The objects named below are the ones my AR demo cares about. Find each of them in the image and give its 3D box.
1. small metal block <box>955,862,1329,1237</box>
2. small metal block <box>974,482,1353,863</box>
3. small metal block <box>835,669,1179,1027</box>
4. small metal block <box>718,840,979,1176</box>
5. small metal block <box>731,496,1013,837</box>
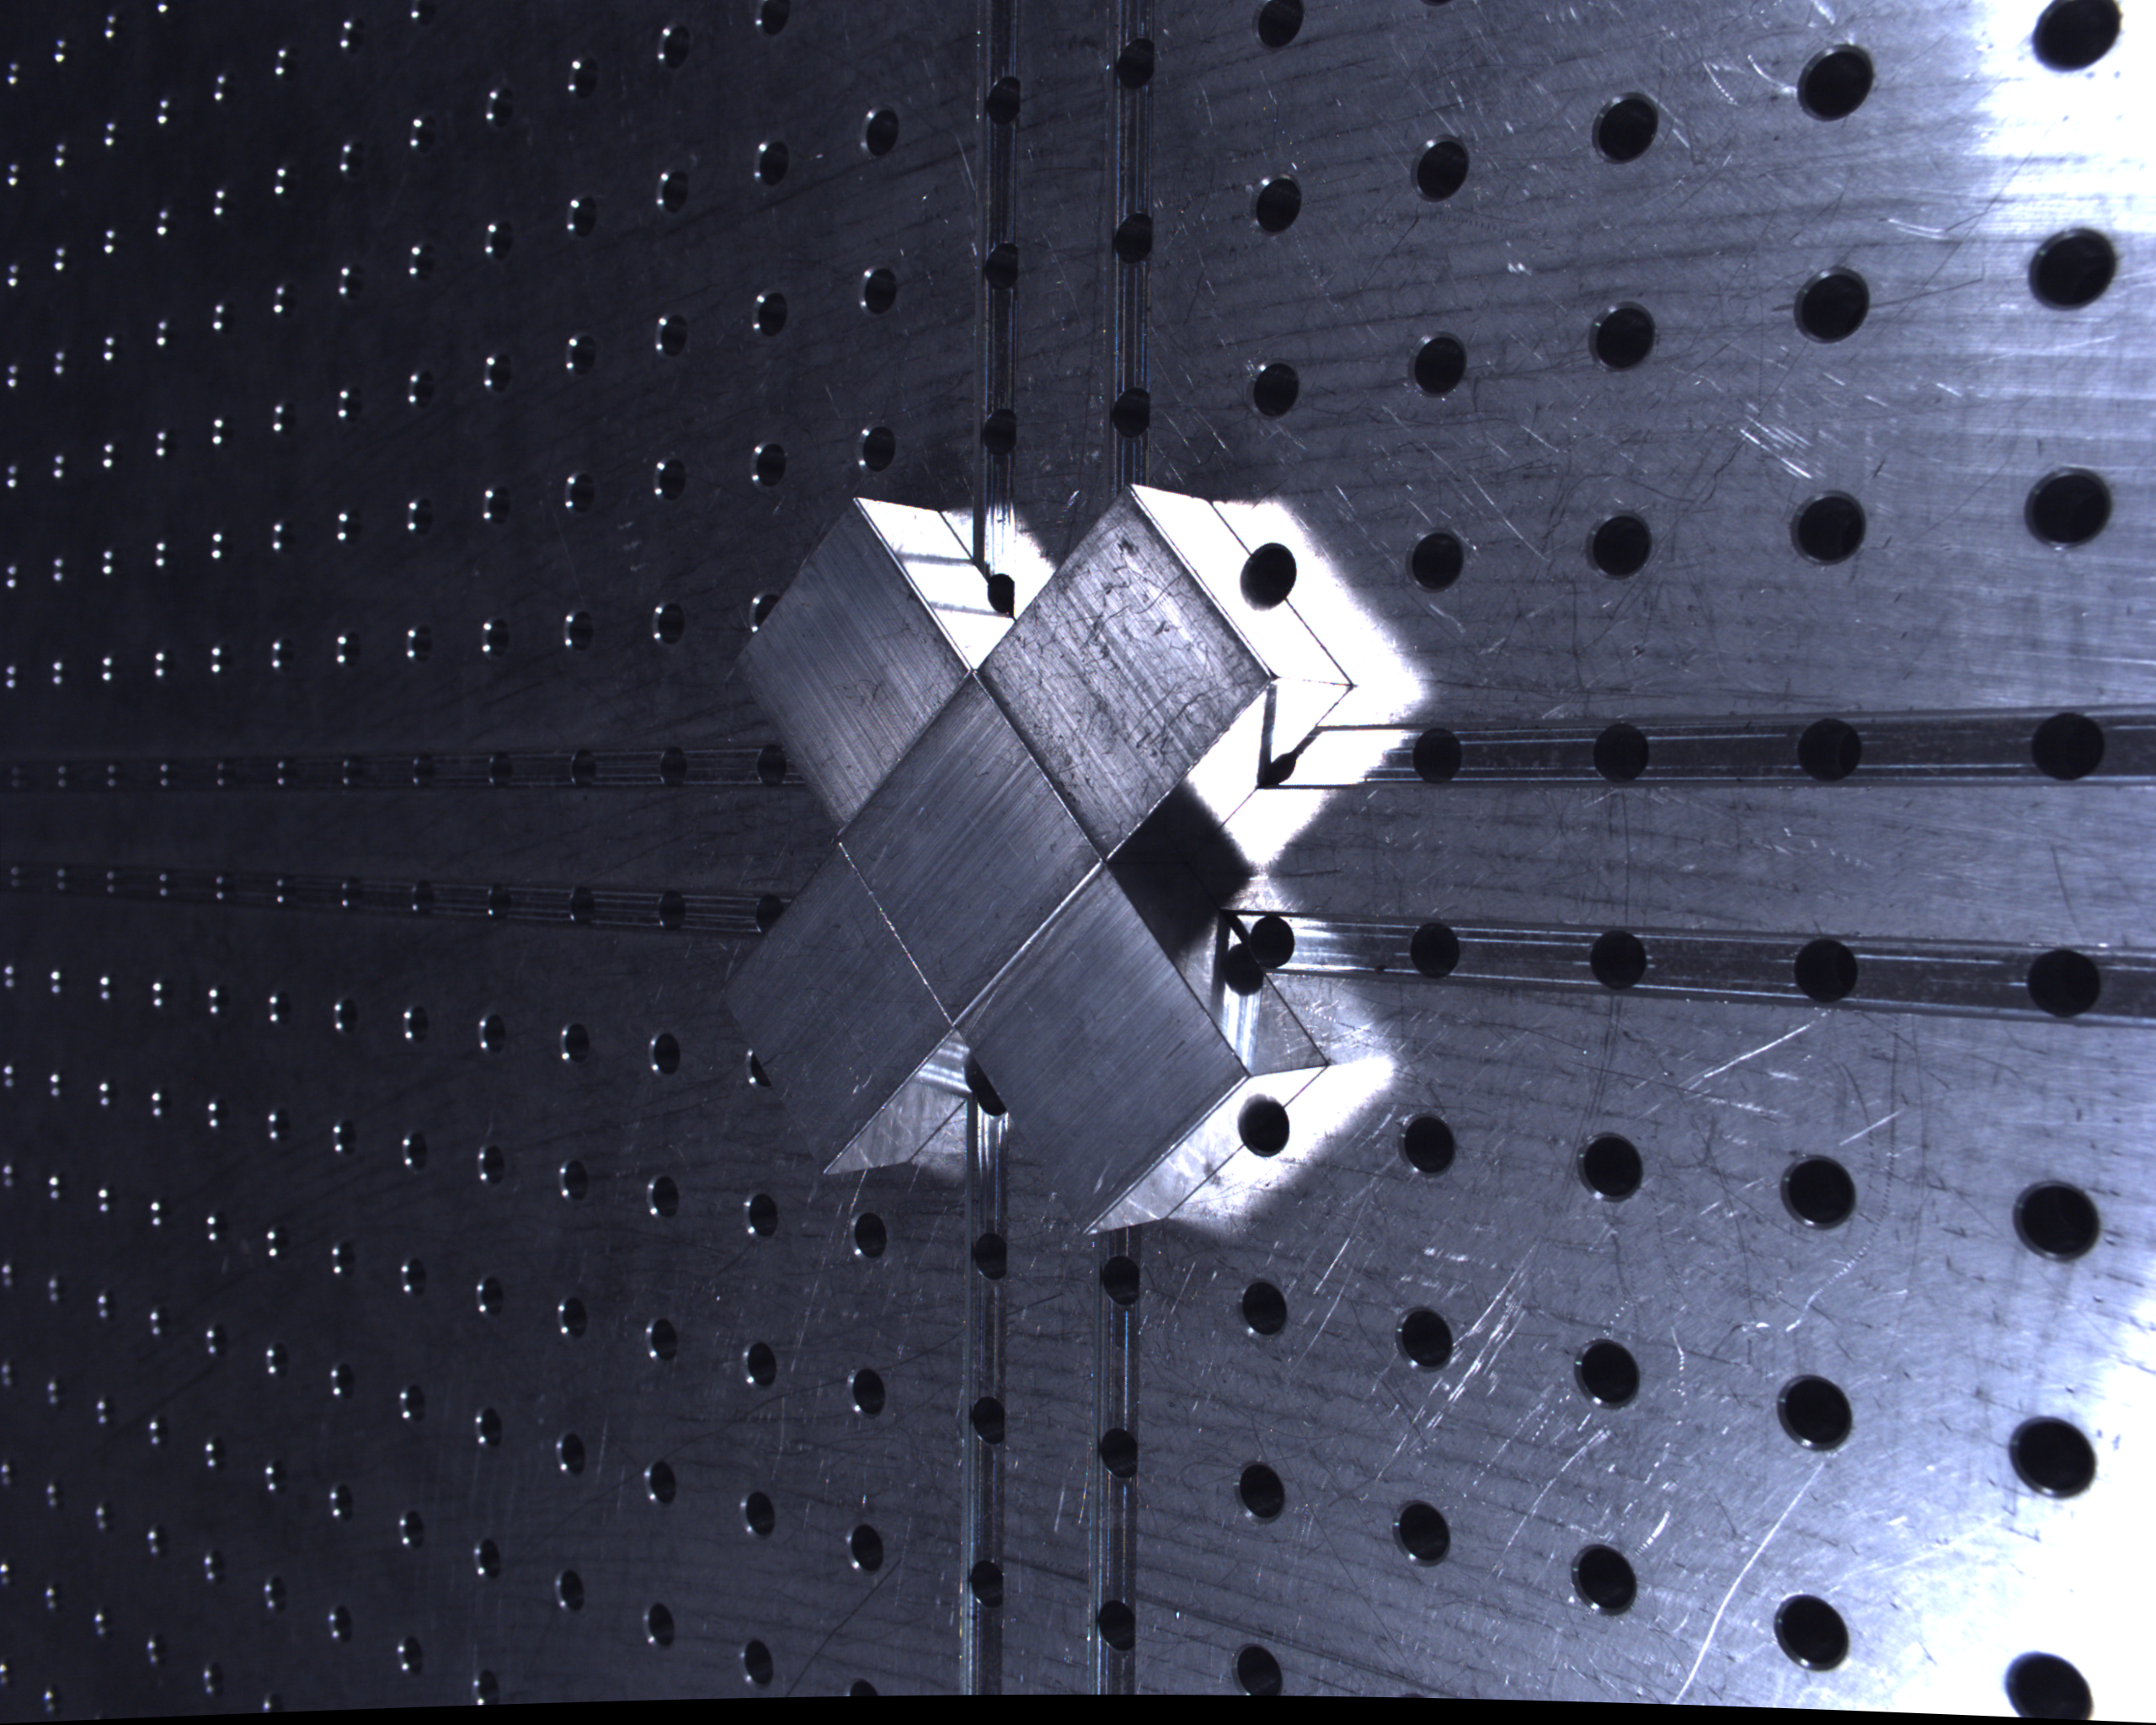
[{"bbox_3d":[0.011,0.035,0.398,0.050,0.025,0.050,-48,62,29],"label":"small metal block"},{"bbox_3d":[0.015,-0.035,0.394,0.050,0.025,0.050,-48,62,29],"label":"small metal block"},{"bbox_3d":[-0.015,-0.003,0.418,0.050,0.025,0.050,-48,62,29],"label":"small metal block"},{"bbox_3d":[-0.043,0.030,0.443,0.050,0.025,0.050,-48,62,29],"label":"small metal block"},{"bbox_3d":[-0.040,-0.040,0.440,0.050,0.025,0.050,-48,62,29],"label":"small metal block"}]
